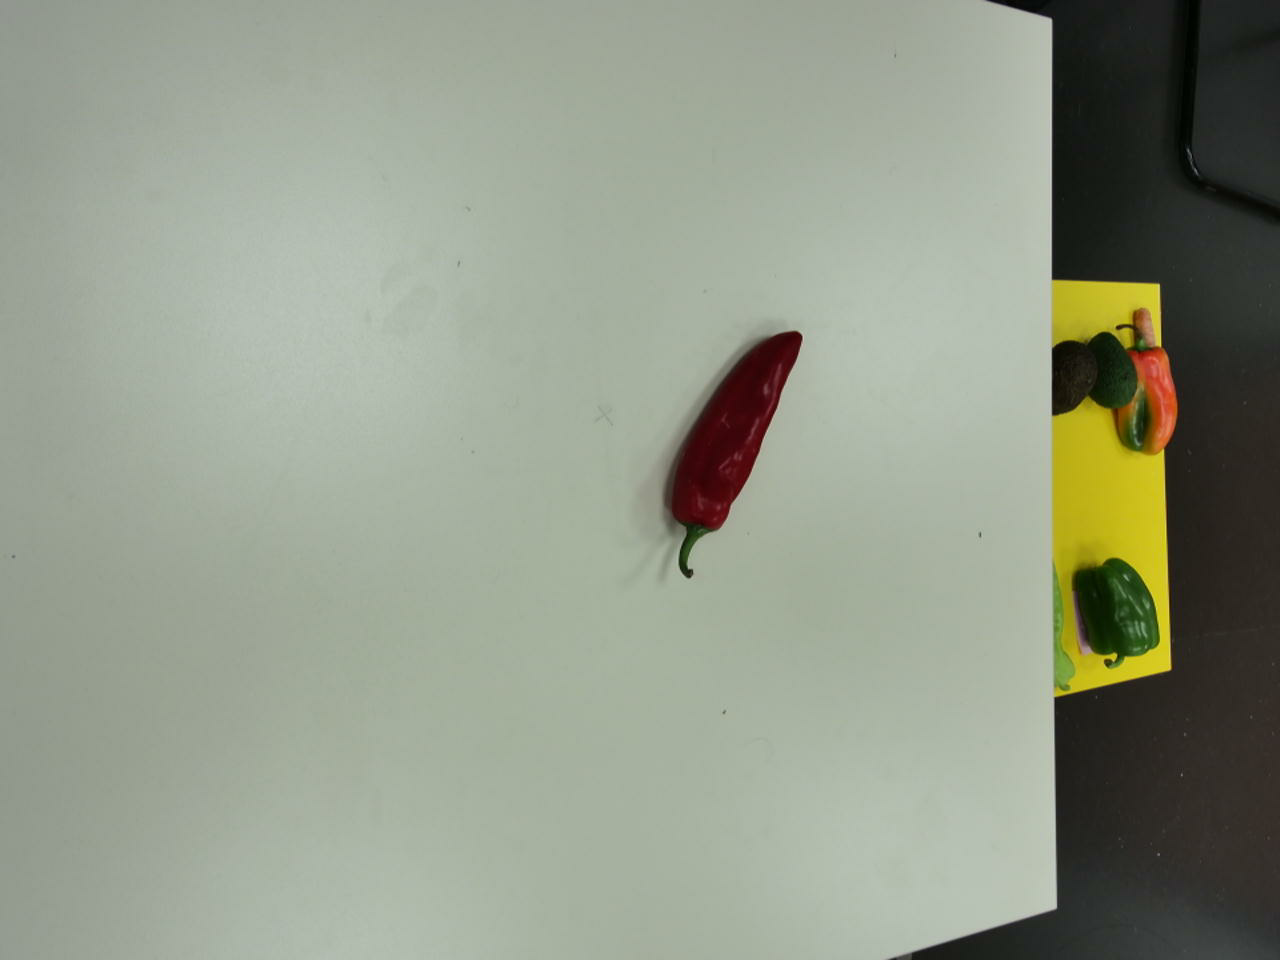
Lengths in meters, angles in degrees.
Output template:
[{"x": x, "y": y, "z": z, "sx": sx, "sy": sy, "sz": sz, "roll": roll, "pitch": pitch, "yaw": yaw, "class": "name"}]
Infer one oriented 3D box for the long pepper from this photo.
[{"x": 0.065, "y": -0.027, "z": 0.724, "sx": 0.050, "sy": 0.043, "sz": 0.211, "roll": 34, "pitch": 75, "yaw": -24, "class": "long pepper"}]
